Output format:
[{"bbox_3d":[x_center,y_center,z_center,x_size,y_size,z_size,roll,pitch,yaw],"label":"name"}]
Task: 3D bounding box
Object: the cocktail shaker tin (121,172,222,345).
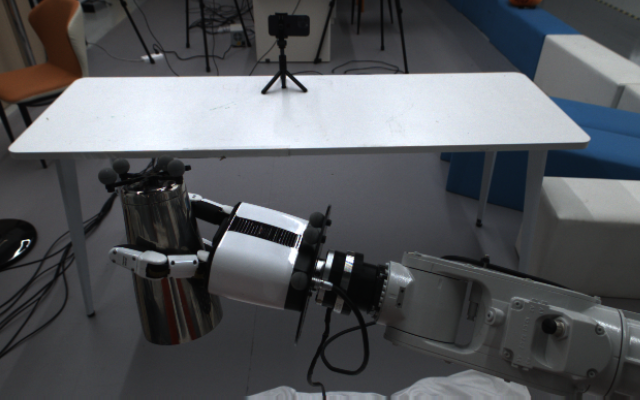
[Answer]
[{"bbox_3d":[-0.168,0.064,0.539,0.093,0.170,0.093,-6,19,2],"label":"cocktail shaker tin"}]
